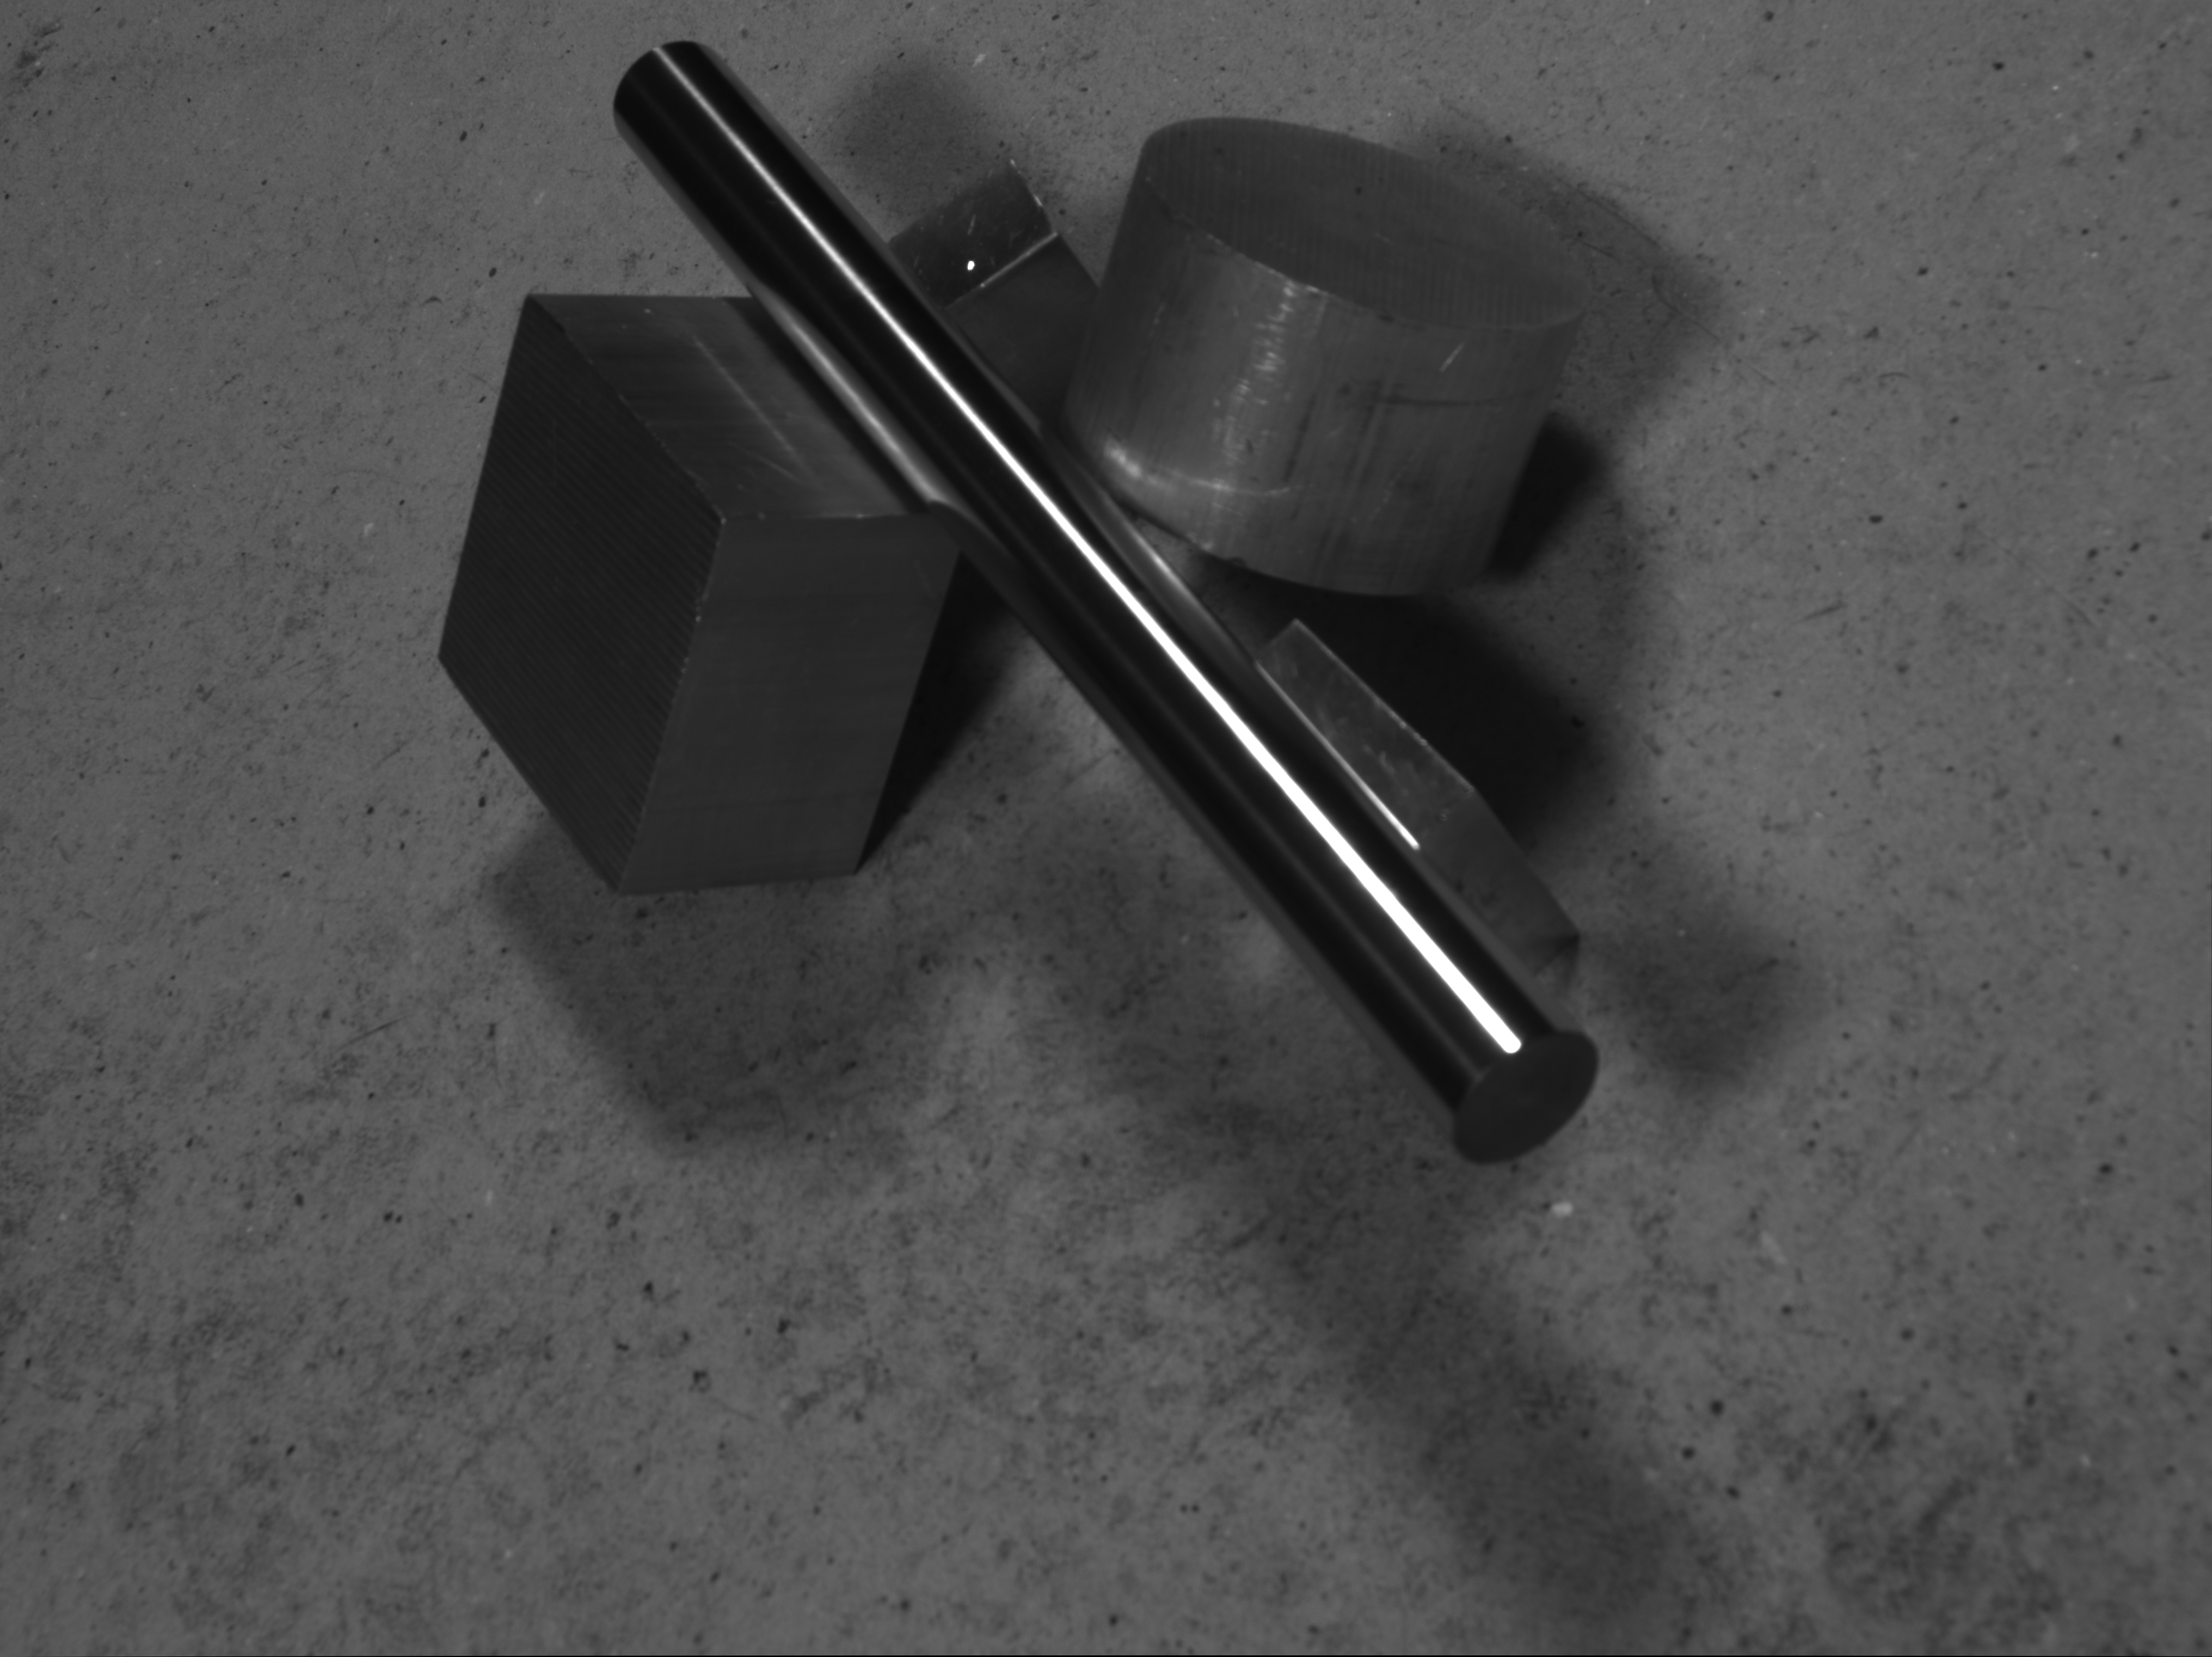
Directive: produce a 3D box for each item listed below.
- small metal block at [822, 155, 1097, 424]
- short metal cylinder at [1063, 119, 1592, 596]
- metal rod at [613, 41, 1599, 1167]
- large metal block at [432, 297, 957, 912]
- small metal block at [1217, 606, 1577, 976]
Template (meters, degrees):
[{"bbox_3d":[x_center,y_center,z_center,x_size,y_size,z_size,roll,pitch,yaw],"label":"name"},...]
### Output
[{"bbox_3d":[-0.023,-0.091,0.698,0.050,0.050,0.025,-34,51,6],"label":"small metal block"},{"bbox_3d":[0.037,-0.082,0.632,0.080,0.080,0.050,45,129,39],"label":"short metal cylinder"},{"bbox_3d":[-0.012,-0.051,0.618,0.025,0.025,0.299,-40,51,1],"label":"metal rod"},{"bbox_3d":[-0.077,-0.042,0.673,0.080,0.050,0.080,48,130,39],"label":"large metal block"},{"bbox_3d":[0.045,-0.002,0.601,0.025,0.050,0.050,-42,51,0],"label":"small metal block"}]
